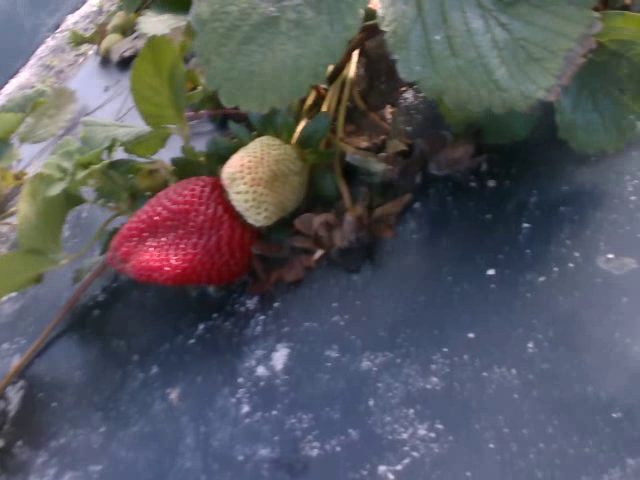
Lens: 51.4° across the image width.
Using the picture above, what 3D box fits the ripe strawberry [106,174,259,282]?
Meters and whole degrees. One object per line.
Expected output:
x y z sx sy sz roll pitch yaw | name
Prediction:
-0.059 0.001 0.272 0.070 0.058 0.057 -14 -32 -32 | ripe strawberry
